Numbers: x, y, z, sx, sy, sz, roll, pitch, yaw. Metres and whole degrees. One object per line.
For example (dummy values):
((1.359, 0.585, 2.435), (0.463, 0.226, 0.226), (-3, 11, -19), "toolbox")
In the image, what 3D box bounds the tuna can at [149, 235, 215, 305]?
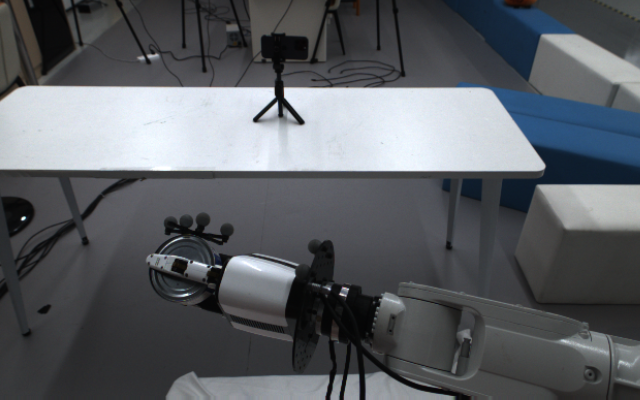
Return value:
((-0.167, 0.089, 0.611), (0.085, 0.034, 0.085), (-3, 68, 8), "tuna can")
